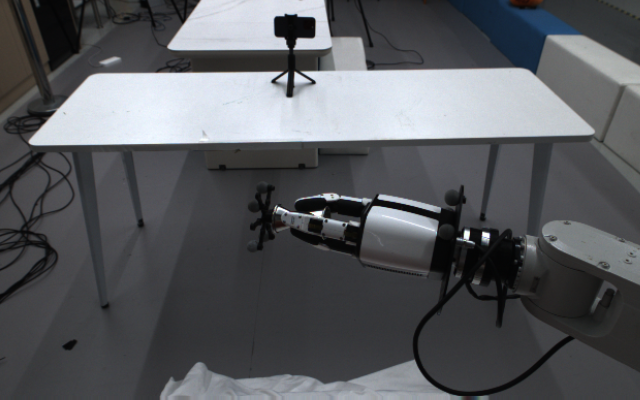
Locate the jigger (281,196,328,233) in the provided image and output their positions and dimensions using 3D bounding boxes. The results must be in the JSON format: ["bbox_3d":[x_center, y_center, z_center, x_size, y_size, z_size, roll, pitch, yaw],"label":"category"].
[{"bbox_3d":[-0.018,0.024,0.630,0.071,0.043,0.043,4,34,15],"label":"jigger"}]
